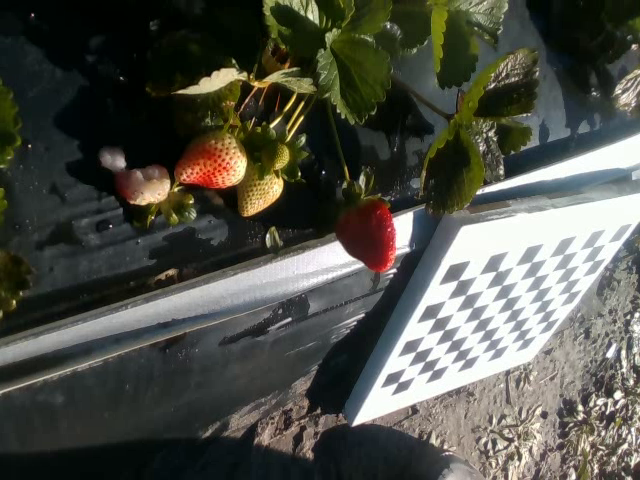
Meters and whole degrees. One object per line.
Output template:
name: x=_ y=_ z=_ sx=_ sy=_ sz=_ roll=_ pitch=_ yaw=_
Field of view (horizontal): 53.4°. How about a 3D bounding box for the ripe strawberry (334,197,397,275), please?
ripe strawberry: x=0.027 y=0.000 z=0.341 sx=0.036 sy=0.046 sz=0.038 roll=-8 pitch=-29 yaw=-29
